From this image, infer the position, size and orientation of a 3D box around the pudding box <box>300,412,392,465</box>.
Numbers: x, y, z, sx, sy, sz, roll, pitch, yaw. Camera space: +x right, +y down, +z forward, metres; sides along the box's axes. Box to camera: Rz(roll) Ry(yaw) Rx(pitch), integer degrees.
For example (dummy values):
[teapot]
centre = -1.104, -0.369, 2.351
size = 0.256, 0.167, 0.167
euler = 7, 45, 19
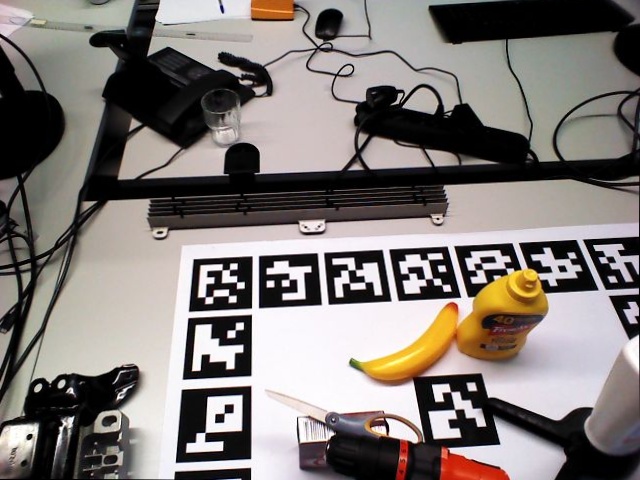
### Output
[pudding box]
centre = 0.032, 0.251, 0.649
size = 0.114, 0.090, 0.038
euler = 0, 47, 1

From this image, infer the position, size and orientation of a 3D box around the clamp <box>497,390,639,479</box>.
[clamp]
centre = 0.349, 0.256, 0.654
size = 0.203, 0.037, 0.164
euler = -8, 56, -6

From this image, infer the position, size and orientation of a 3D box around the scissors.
[scissors]
centre = 0.022, 0.207, 0.601
size = 0.203, 0.016, 0.087
euler = 20, 60, 9

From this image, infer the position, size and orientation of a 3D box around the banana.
[banana]
centre = 0.157, 0.135, 0.757
size = 0.196, 0.039, 0.074
euler = -37, 44, -23

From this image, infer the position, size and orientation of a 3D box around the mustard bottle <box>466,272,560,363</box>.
[mustard bottle]
centre = 0.265, 0.101, 0.698
size = 0.096, 0.192, 0.058
euler = 9, 54, 6

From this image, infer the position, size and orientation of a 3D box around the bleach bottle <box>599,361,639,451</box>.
[bleach bottle]
centre = 0.382, 0.179, 0.579
size = 0.102, 0.251, 0.068
euler = -22, 52, -6

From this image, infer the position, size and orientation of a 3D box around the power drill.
[power drill]
centre = 0.095, 0.269, 0.538
size = 0.185, 0.188, 0.057
euler = 6, 47, 9
